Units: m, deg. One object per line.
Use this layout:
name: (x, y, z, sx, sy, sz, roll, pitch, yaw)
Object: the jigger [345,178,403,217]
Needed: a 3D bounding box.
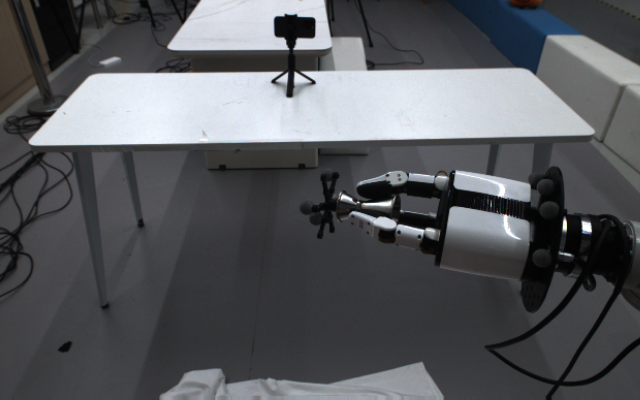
jigger: (0.065, 0.004, 0.577, 0.071, 0.043, 0.043, 5, 34, 21)
